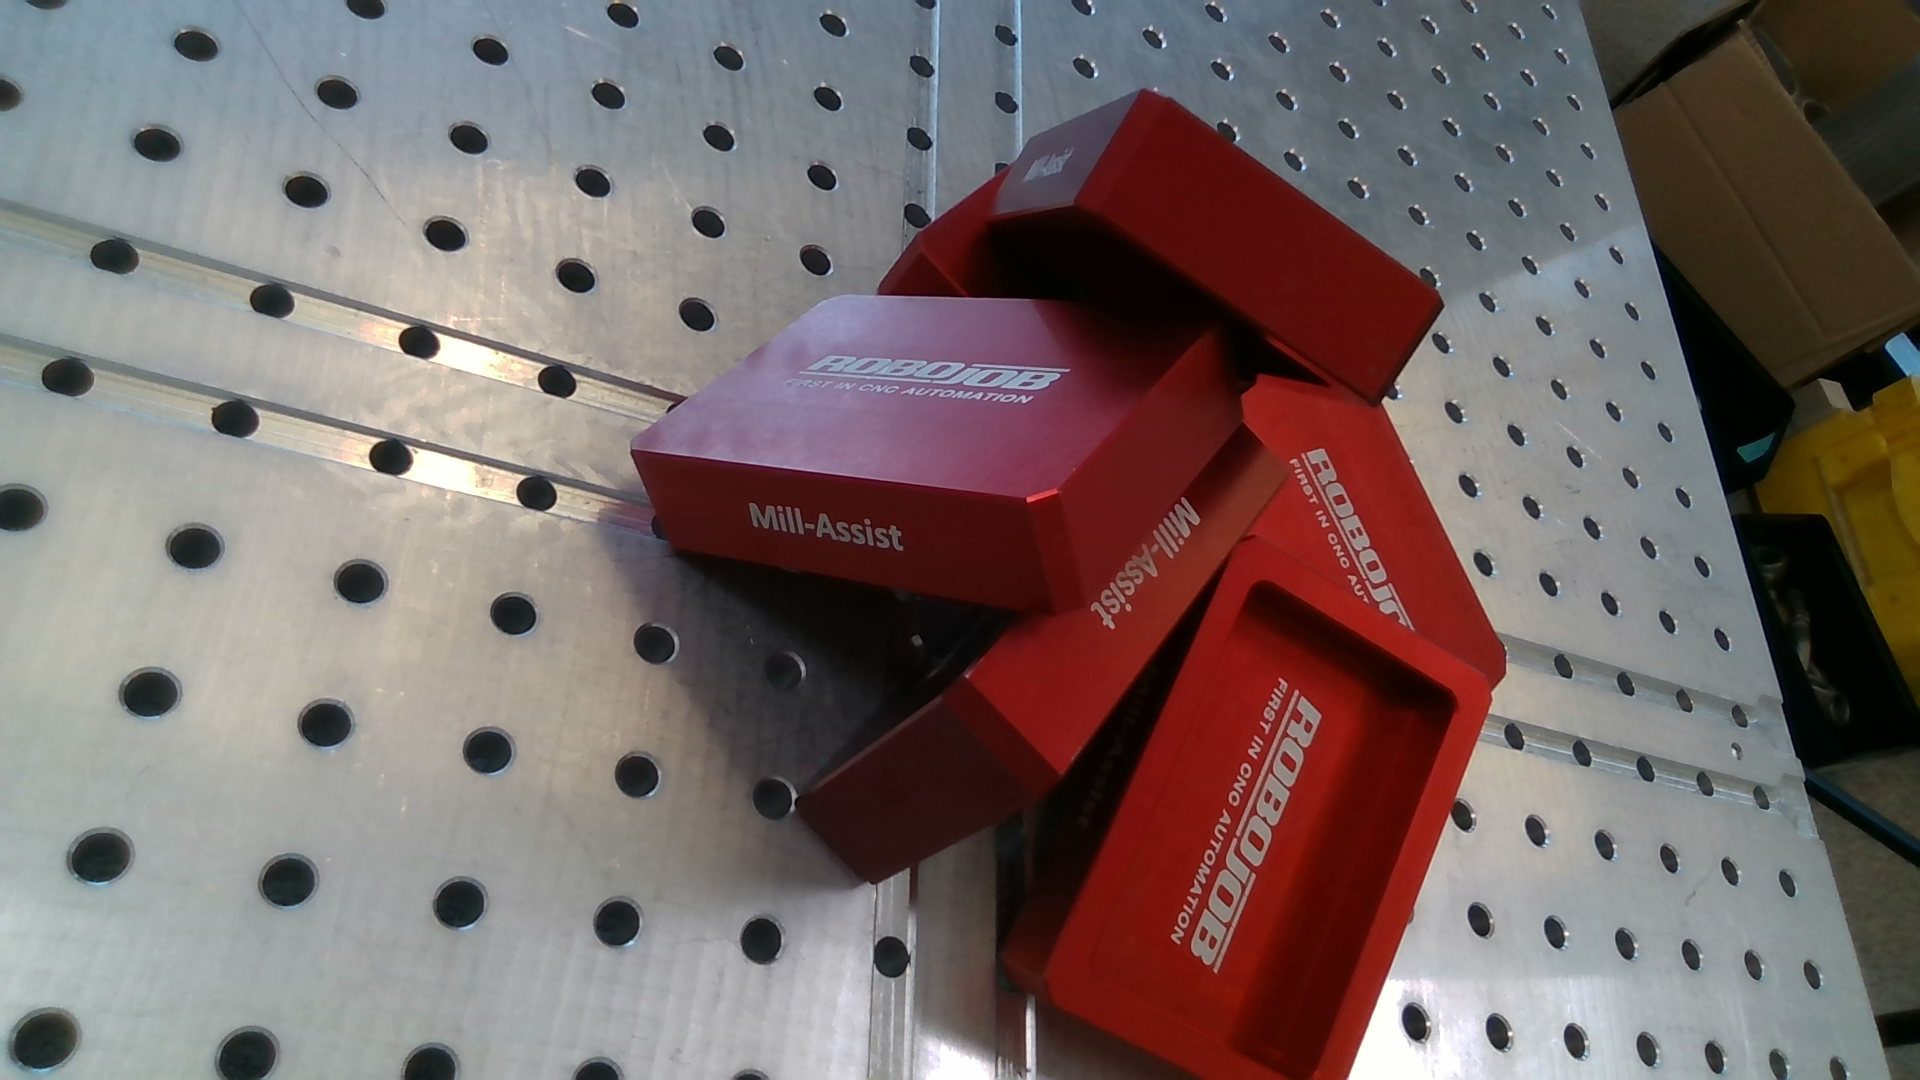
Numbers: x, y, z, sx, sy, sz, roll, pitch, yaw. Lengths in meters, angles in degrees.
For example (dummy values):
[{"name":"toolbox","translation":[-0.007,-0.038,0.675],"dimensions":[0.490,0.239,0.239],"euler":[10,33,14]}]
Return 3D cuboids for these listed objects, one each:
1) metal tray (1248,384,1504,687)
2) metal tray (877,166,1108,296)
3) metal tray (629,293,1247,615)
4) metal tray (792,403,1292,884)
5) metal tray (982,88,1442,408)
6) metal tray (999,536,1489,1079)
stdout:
[{"name":"metal tray","translation":[0.114,0.009,0.434],"dimensions":[0.090,0.030,0.130],"euler":[-35,100,-36]},{"name":"metal tray","translation":[0.047,-0.063,0.456],"dimensions":[0.130,0.030,0.090],"euler":[46,52,-2]},{"name":"metal tray","translation":[-0.007,-0.028,0.345],"dimensions":[0.090,0.130,0.030],"euler":[-45,131,-39]},{"name":"metal tray","translation":[0.022,0.024,0.354],"dimensions":[0.030,0.090,0.130],"euler":[47,51,-2]},{"name":"metal tray","translation":[0.061,-0.078,0.378],"dimensions":[0.090,0.130,0.030],"euler":[31,95,-14]},{"name":"metal tray","translation":[0.078,0.075,0.369],"dimensions":[0.090,0.030,0.130],"euler":[30,76,-14]}]
